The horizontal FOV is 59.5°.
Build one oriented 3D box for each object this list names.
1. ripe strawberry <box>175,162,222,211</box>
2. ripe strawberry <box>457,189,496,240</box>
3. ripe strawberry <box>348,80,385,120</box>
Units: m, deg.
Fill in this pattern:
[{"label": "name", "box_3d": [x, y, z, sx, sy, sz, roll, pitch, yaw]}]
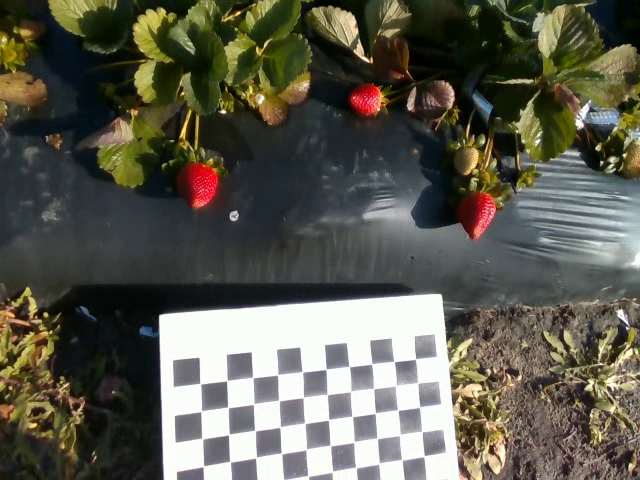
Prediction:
[{"label": "ripe strawberry", "box_3d": [-0.111, -0.046, 0.509, 0.045, 0.055, 0.042, 7, -39, -19]}, {"label": "ripe strawberry", "box_3d": [0.151, -0.021, 0.546, 0.042, 0.059, 0.042, 21, -22, -16]}, {"label": "ripe strawberry", "box_3d": [0.043, -0.146, 0.557, 0.046, 0.035, 0.035, -2, -6, -25]}]
